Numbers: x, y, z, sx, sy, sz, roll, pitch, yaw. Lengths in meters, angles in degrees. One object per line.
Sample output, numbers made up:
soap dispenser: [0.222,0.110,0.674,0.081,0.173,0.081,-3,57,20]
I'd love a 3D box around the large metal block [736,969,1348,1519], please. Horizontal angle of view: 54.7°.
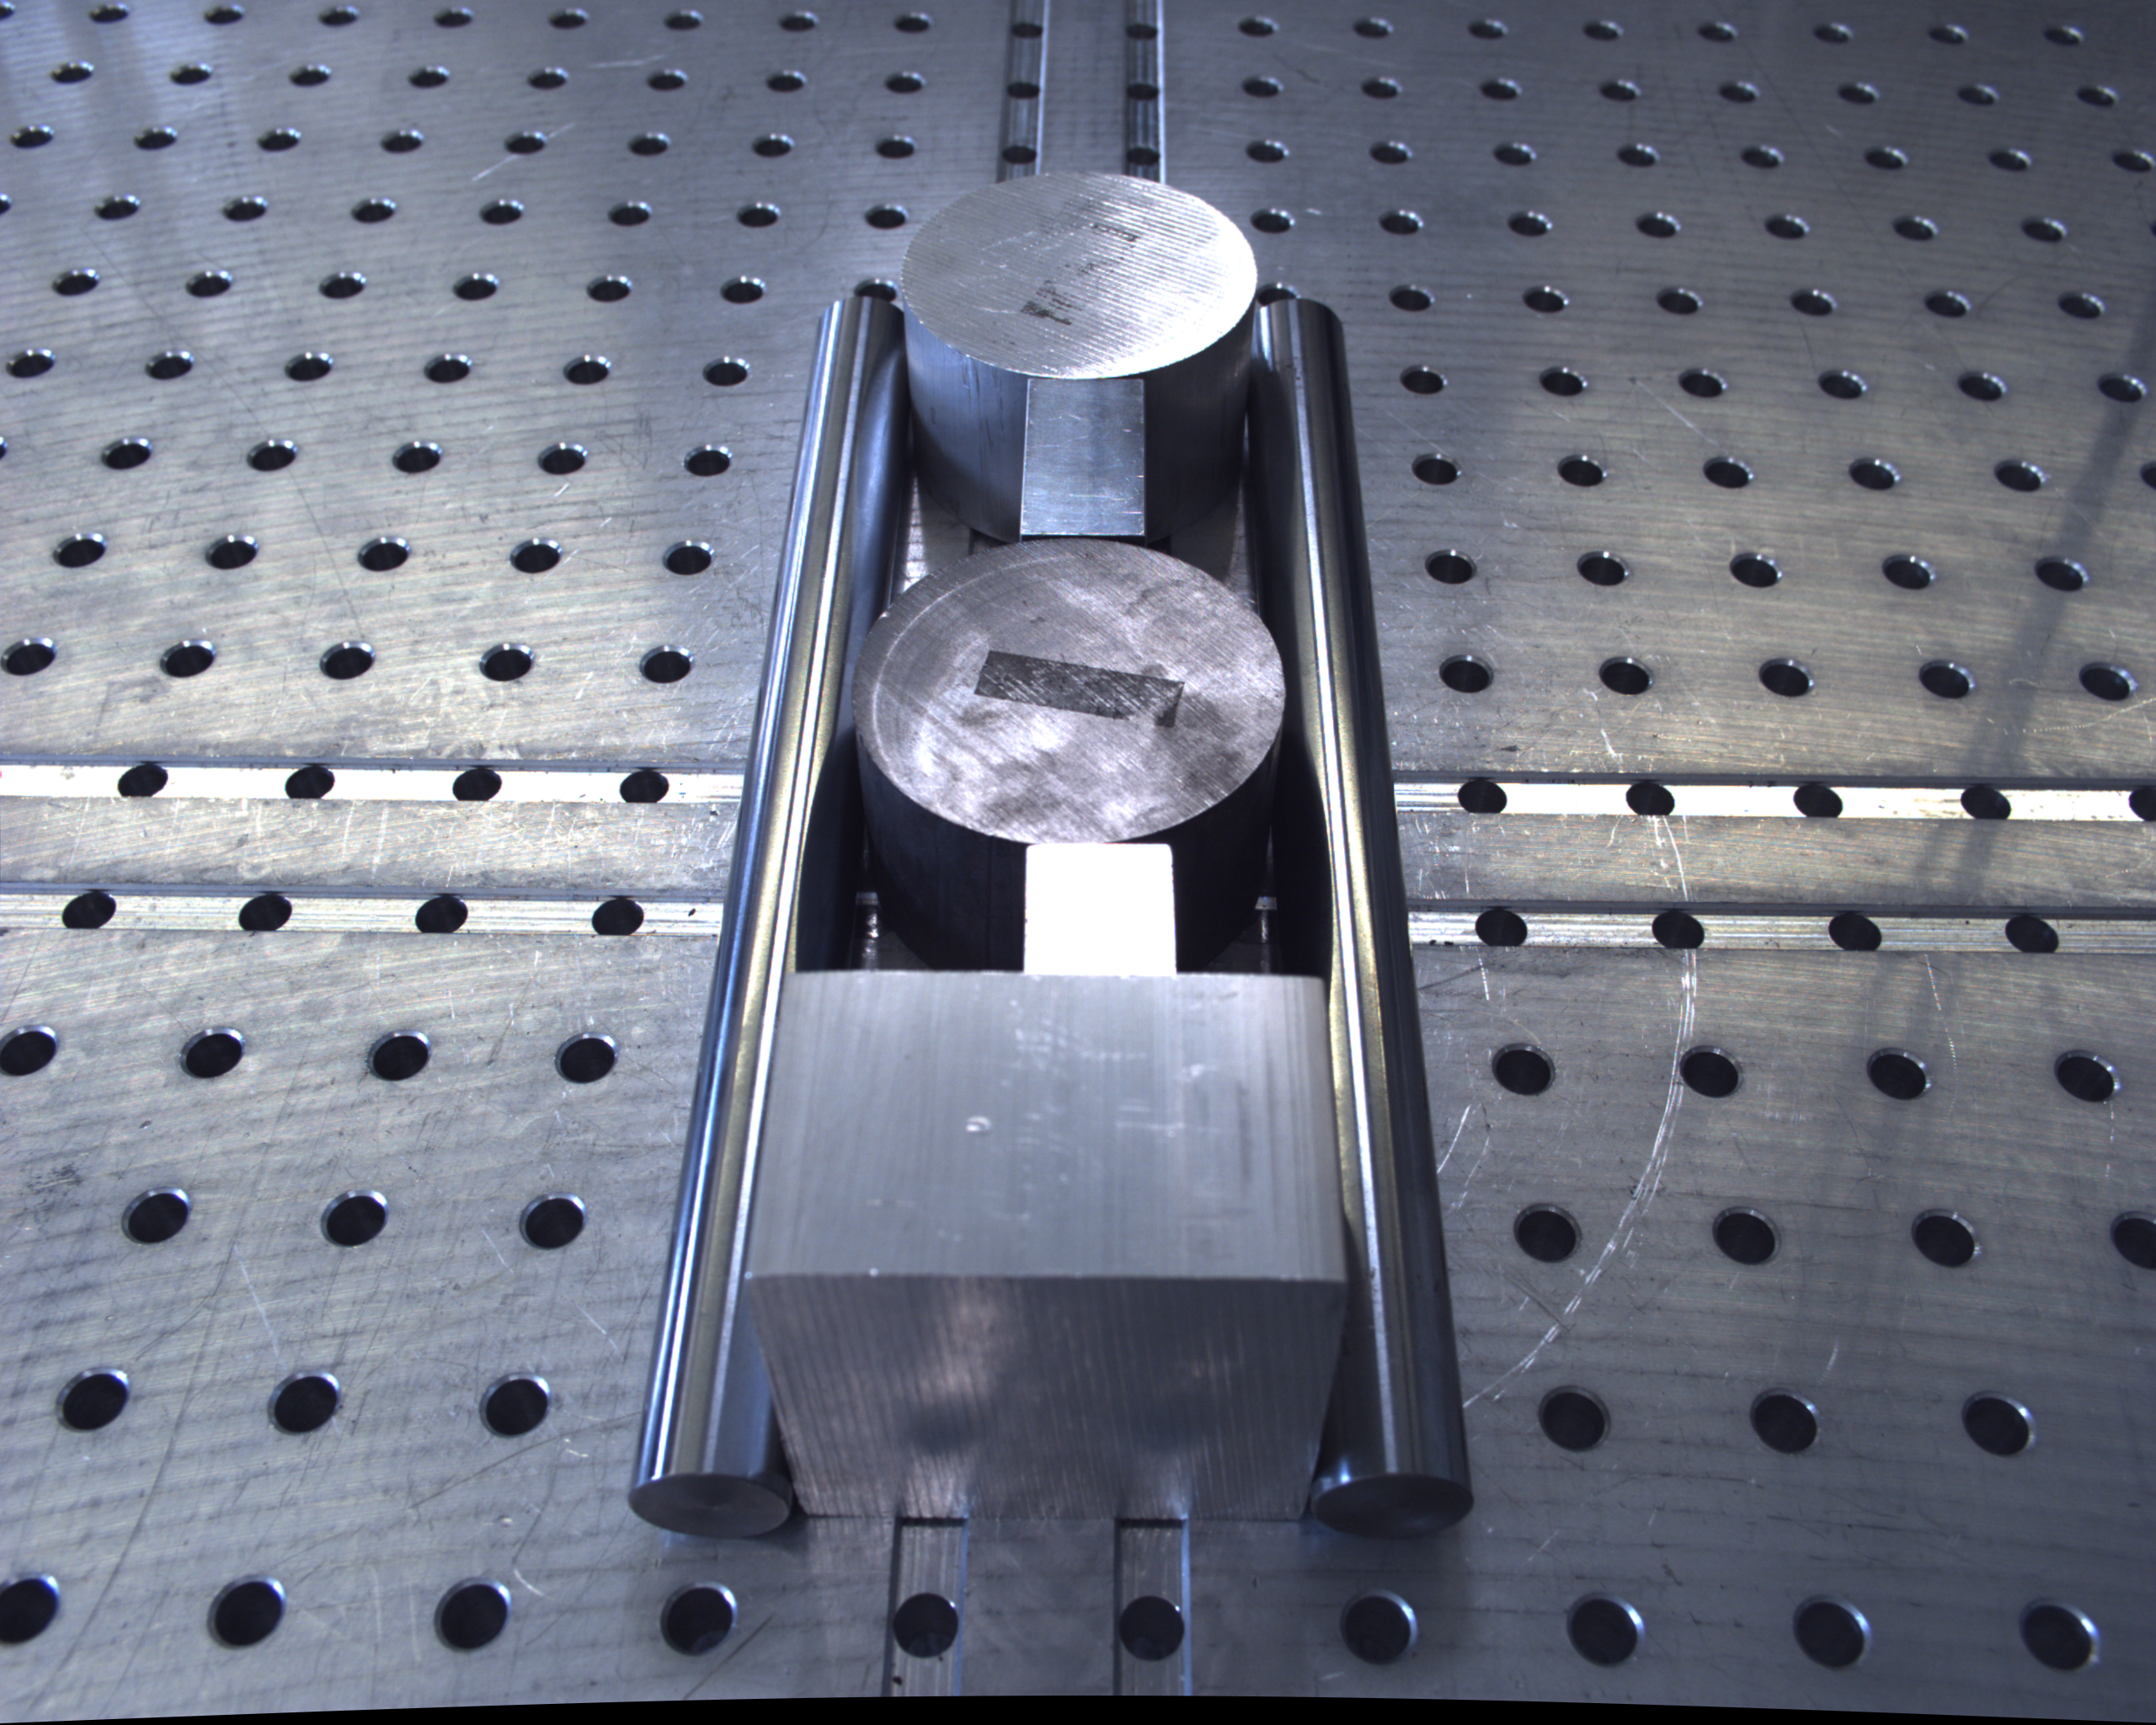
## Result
large metal block: [-0.004,0.061,0.321,0.080,0.080,0.050,1,50,0]

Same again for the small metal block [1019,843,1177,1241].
small metal block: [0.003,0.032,0.364,0.025,0.050,0.050,0,50,0]

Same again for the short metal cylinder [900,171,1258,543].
short metal cylinder: [0.000,-0.118,0.490,0.080,0.050,0.080,0,50,0]

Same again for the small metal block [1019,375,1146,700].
small metal block: [0.001,-0.069,0.447,0.025,0.050,0.050,1,50,1]

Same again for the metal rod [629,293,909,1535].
metal rod: [-0.054,-0.016,0.419,0.025,0.025,0.300,1,50,1]

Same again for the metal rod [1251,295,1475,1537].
metal rod: [0.051,-0.015,0.419,0.025,0.025,0.300,1,50,1]

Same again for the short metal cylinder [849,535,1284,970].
short metal cylinder: [-0.002,-0.018,0.406,0.080,0.050,0.080,0,50,0]
